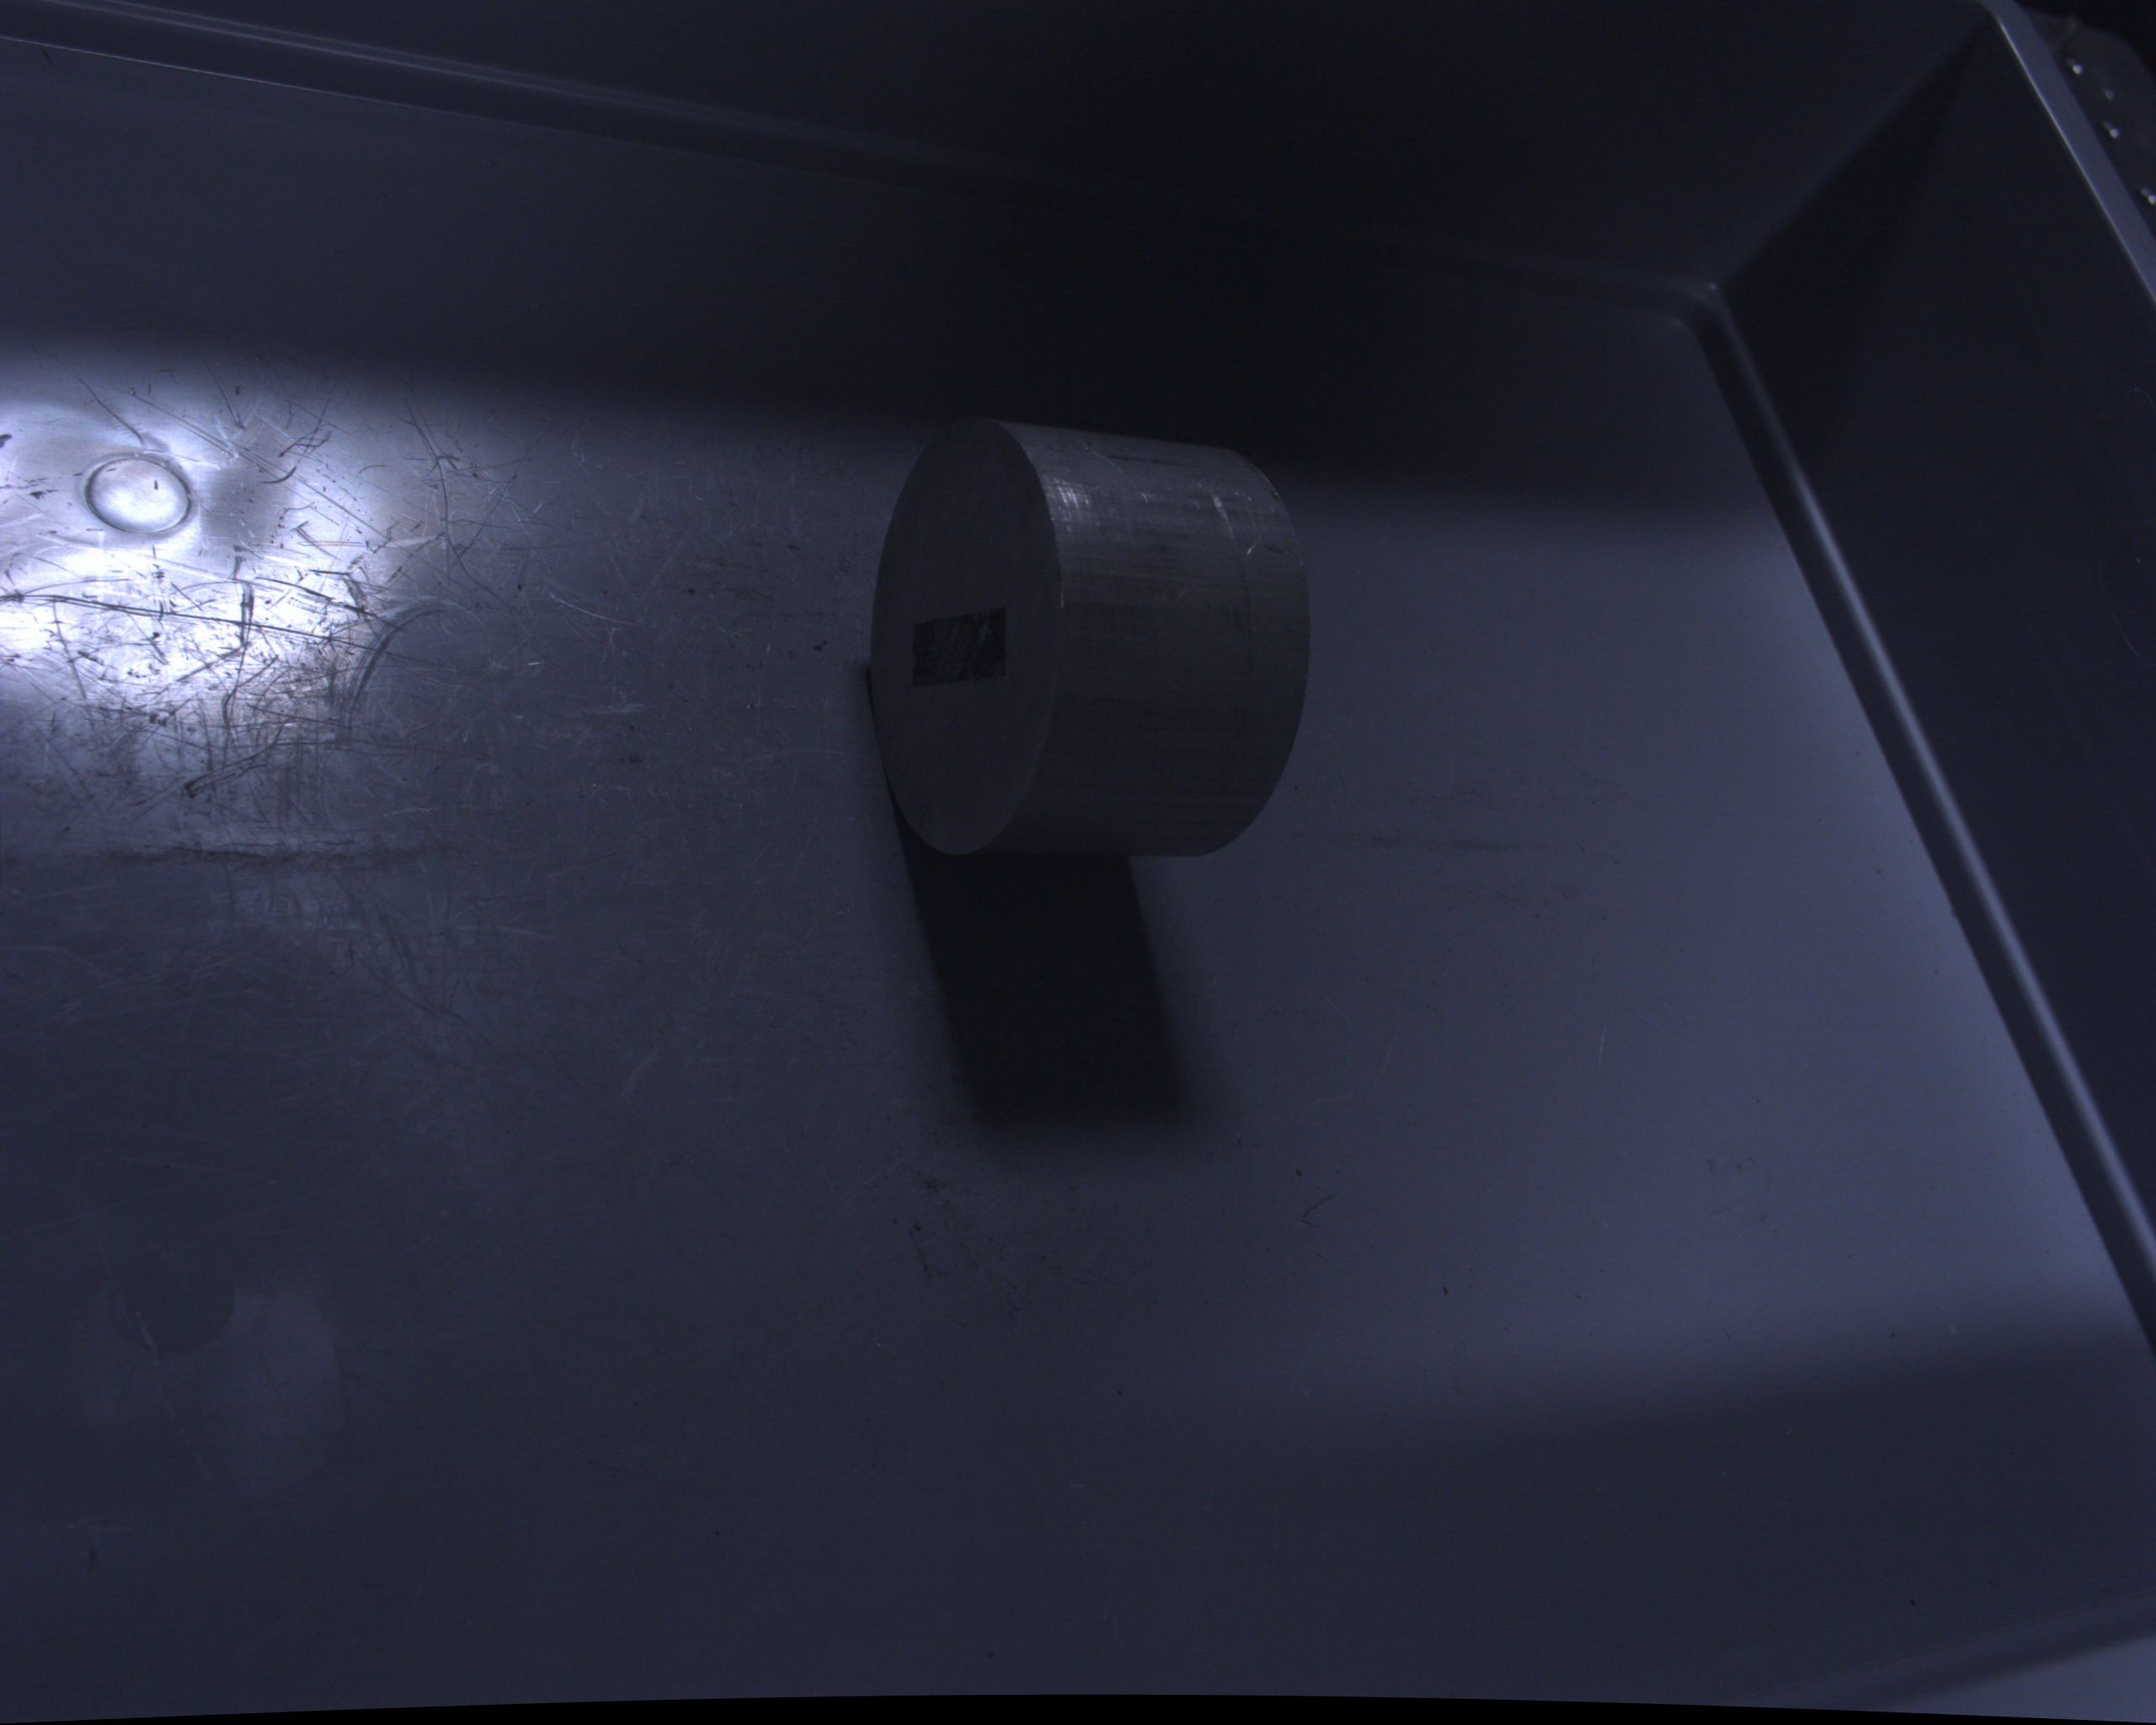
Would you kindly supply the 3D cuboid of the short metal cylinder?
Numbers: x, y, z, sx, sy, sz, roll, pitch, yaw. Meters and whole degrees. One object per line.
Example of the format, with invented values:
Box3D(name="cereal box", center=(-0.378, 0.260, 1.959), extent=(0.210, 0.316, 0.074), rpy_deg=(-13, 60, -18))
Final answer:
Box3D(name="short metal cylinder", center=(0.000, -0.041, 0.394), extent=(0.050, 0.080, 0.080), rpy_deg=(0, 62, -29))
